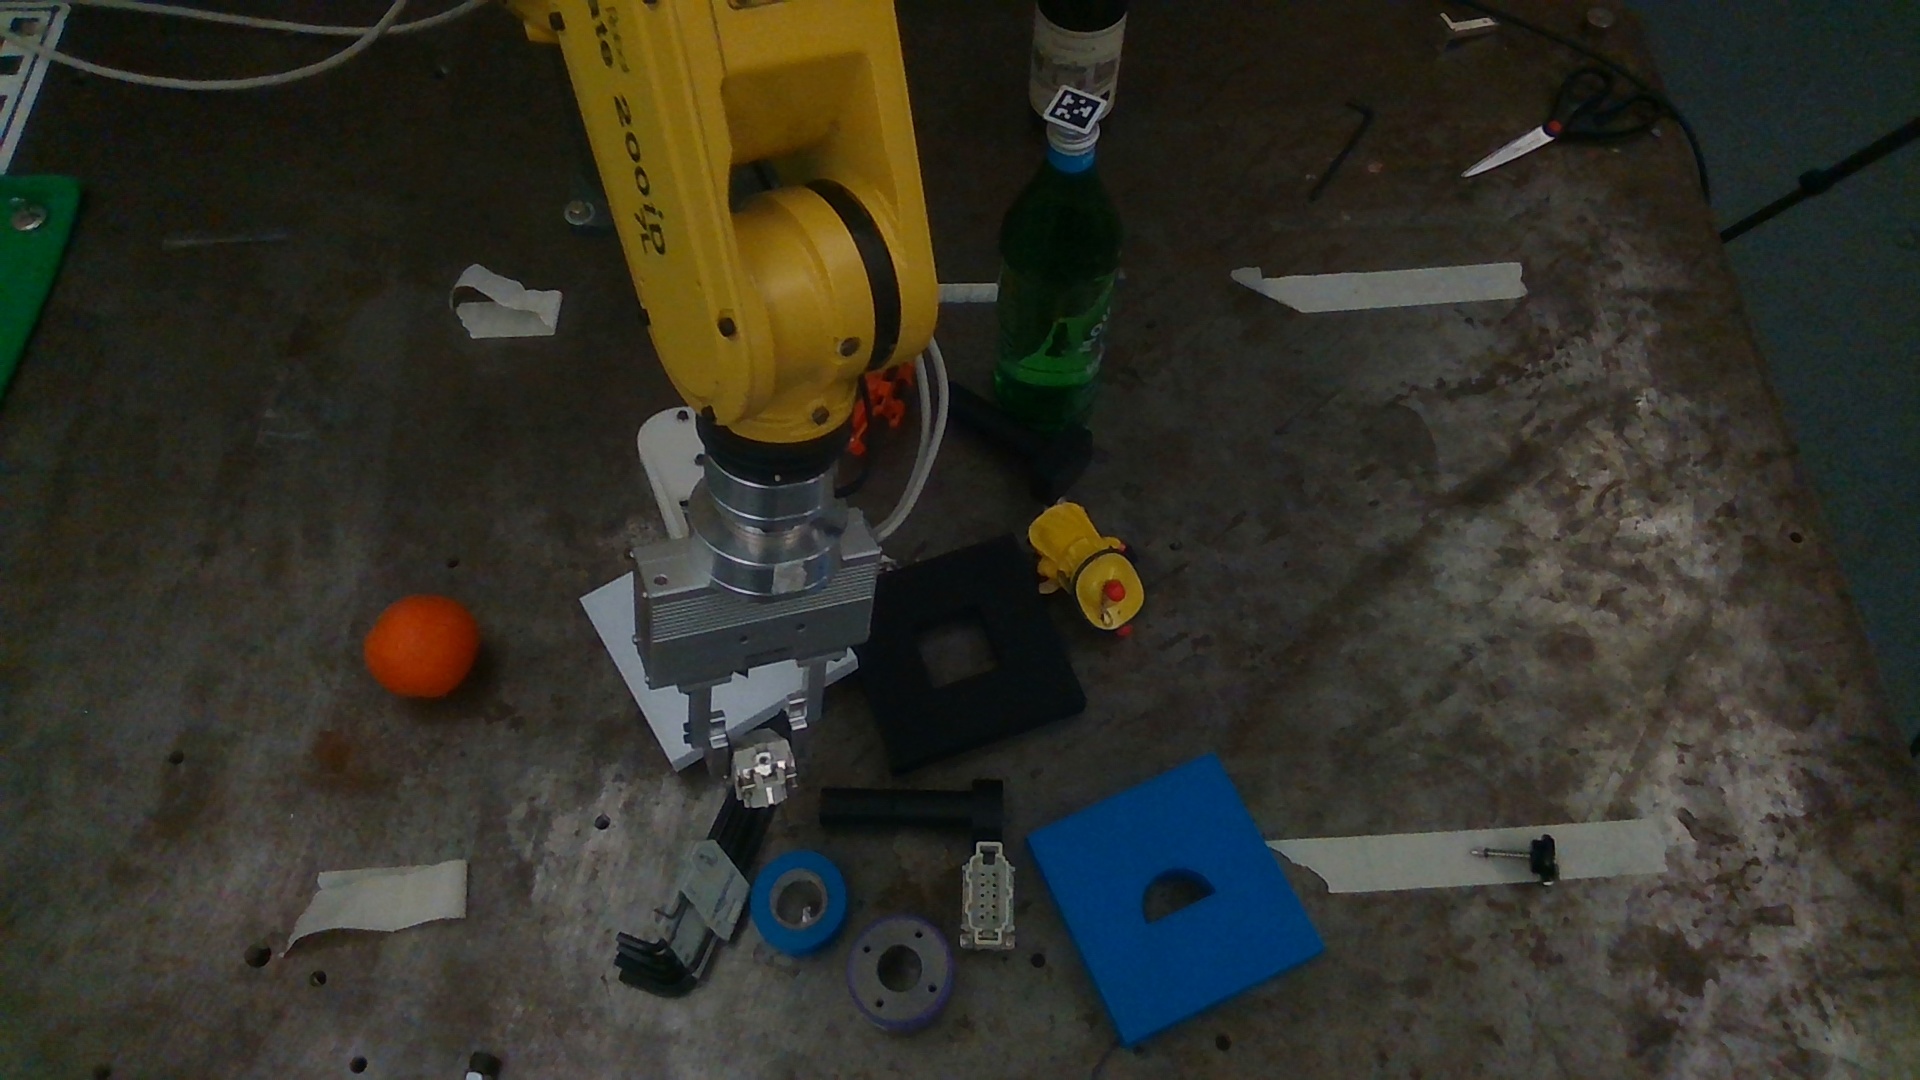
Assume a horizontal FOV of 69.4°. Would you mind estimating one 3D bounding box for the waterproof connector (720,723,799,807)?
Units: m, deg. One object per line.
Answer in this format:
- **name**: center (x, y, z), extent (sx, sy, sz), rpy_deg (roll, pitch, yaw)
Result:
- **waterproof connector**: center (-0.121, 0.136, 0.836), extent (0.036, 0.069, 0.038), rpy_deg (-14, 96, -19)
